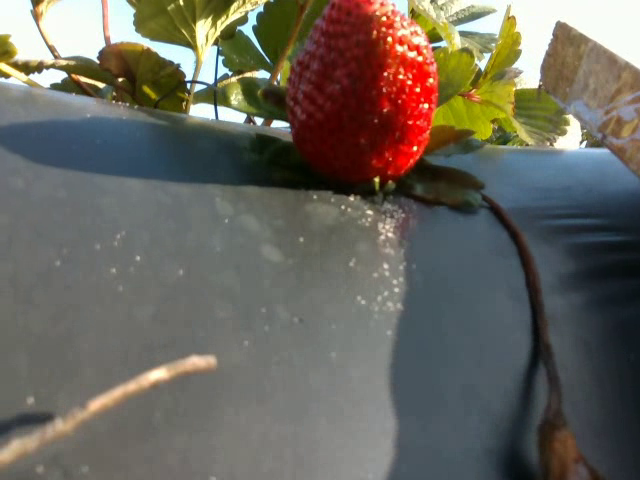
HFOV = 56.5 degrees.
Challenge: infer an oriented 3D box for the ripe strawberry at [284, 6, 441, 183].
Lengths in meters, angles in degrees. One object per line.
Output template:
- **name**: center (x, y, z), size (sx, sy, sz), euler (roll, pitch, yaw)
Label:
- **ripe strawberry**: center (0.003, -0.012, 0.046), size (0.015, 0.015, 0.023), euler (11, -18, -2)
